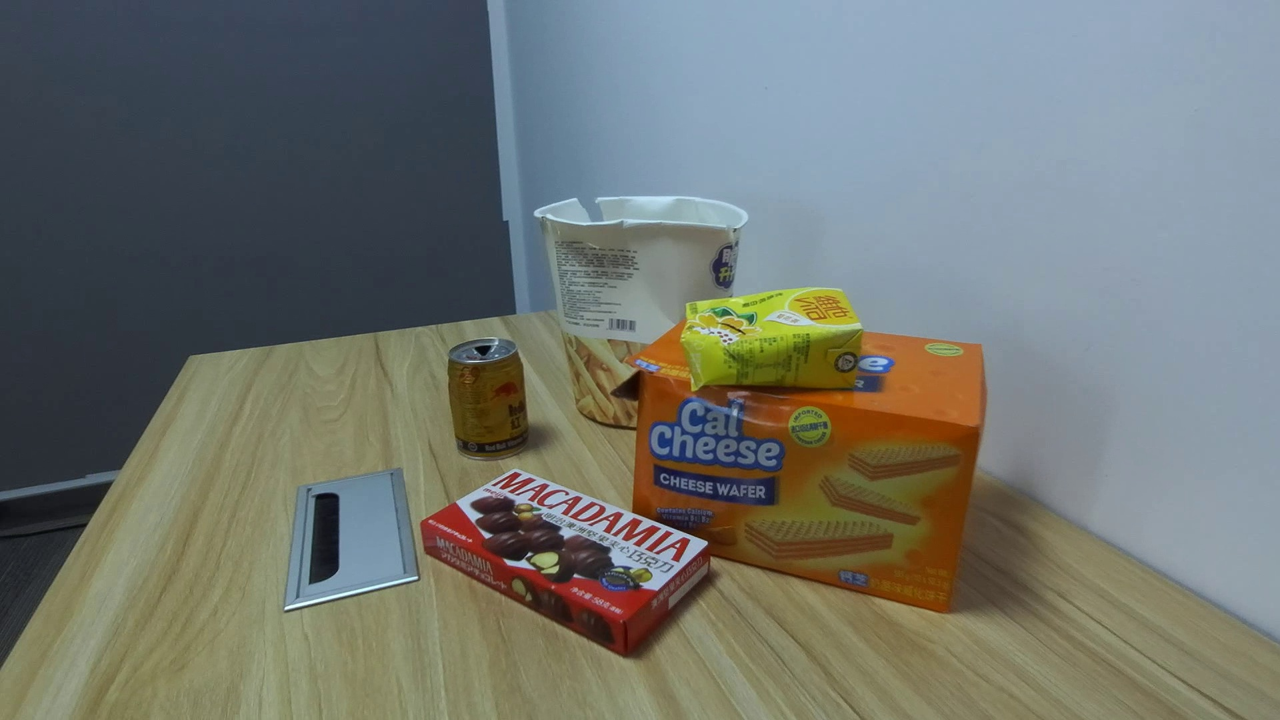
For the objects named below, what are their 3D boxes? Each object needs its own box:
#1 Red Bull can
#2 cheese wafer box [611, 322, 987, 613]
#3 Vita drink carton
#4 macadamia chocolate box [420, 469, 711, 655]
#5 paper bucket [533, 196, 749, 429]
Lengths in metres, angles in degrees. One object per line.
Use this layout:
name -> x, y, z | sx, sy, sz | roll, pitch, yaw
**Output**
Red Bull can -> -0.135, 0.034, 0.629 | 0.068, 0.093, 0.068 | -1, 20, 1
cheese wafer box -> 0.115, 0.054, 0.498 | 0.226, 0.137, 0.150 | 8, 23, 23
Vita drink carton -> 0.080, -0.011, 0.449 | 0.108, 0.042, 0.087 | -3, 29, 4
macadamia chocolate box -> -0.053, 0.126, 0.475 | 0.177, 0.027, 0.096 | 14, 24, 33
paper bucket -> 0.002, -0.053, 0.692 | 0.202, 0.197, 0.146 | 4, 22, 12
